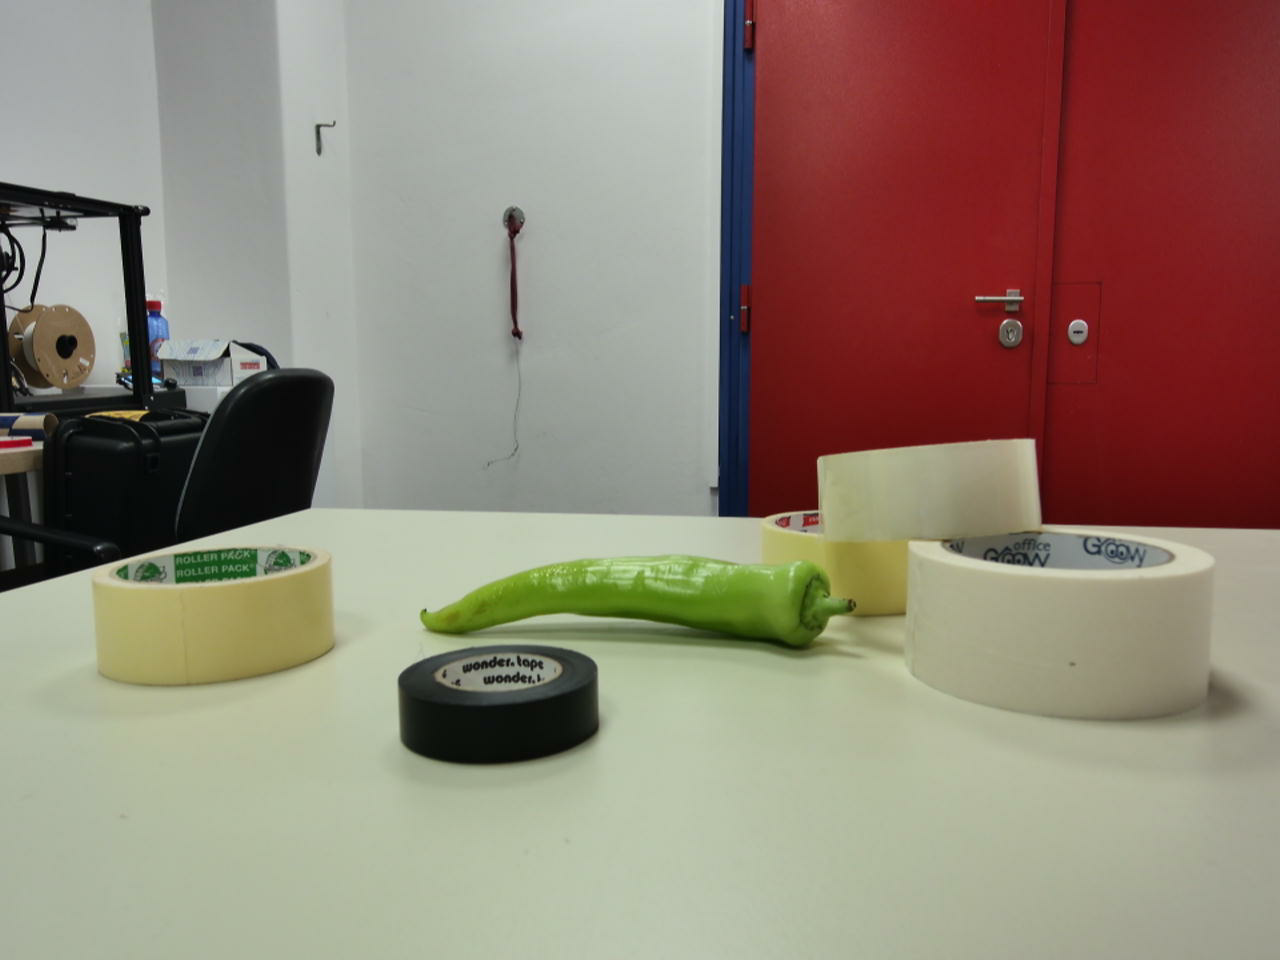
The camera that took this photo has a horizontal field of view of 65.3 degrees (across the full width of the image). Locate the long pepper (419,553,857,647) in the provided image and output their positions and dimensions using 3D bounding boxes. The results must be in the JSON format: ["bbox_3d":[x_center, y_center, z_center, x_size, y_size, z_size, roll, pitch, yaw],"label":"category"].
[{"bbox_3d":[-0.003,0.051,0.446,0.197,0.038,0.046,1,4,15],"label":"long pepper"}]
